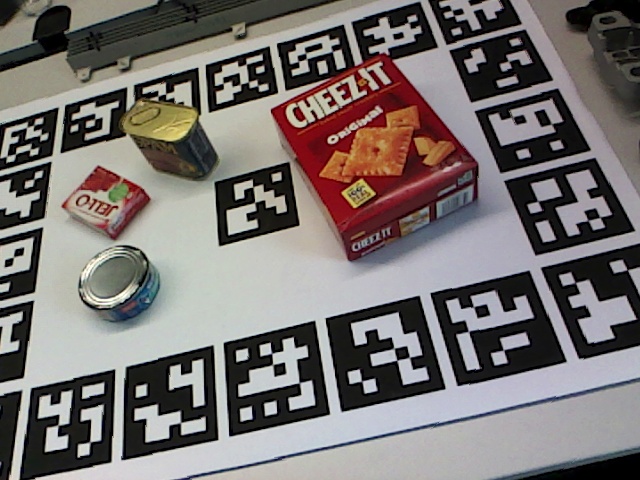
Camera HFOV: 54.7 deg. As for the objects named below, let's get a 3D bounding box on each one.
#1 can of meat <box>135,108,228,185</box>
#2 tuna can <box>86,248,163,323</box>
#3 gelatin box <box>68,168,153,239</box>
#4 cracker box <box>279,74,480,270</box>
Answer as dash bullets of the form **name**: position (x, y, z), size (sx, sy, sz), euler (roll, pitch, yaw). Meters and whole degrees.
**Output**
- **can of meat**: position (-0.183, -0.124, 0.832), size (0.102, 0.083, 0.058), euler (13, 61, 24)
- **tuna can**: position (-0.234, 0.055, 0.744), size (0.086, 0.033, 0.086), euler (-7, 59, 12)
- **gelatin box**: position (-0.282, -0.051, 0.835), size (0.090, 0.030, 0.073), euler (26, 64, 26)
- **cracker box**: position (0.065, -0.090, 0.743), size (0.164, 0.071, 0.215), euler (-26, 52, -4)
